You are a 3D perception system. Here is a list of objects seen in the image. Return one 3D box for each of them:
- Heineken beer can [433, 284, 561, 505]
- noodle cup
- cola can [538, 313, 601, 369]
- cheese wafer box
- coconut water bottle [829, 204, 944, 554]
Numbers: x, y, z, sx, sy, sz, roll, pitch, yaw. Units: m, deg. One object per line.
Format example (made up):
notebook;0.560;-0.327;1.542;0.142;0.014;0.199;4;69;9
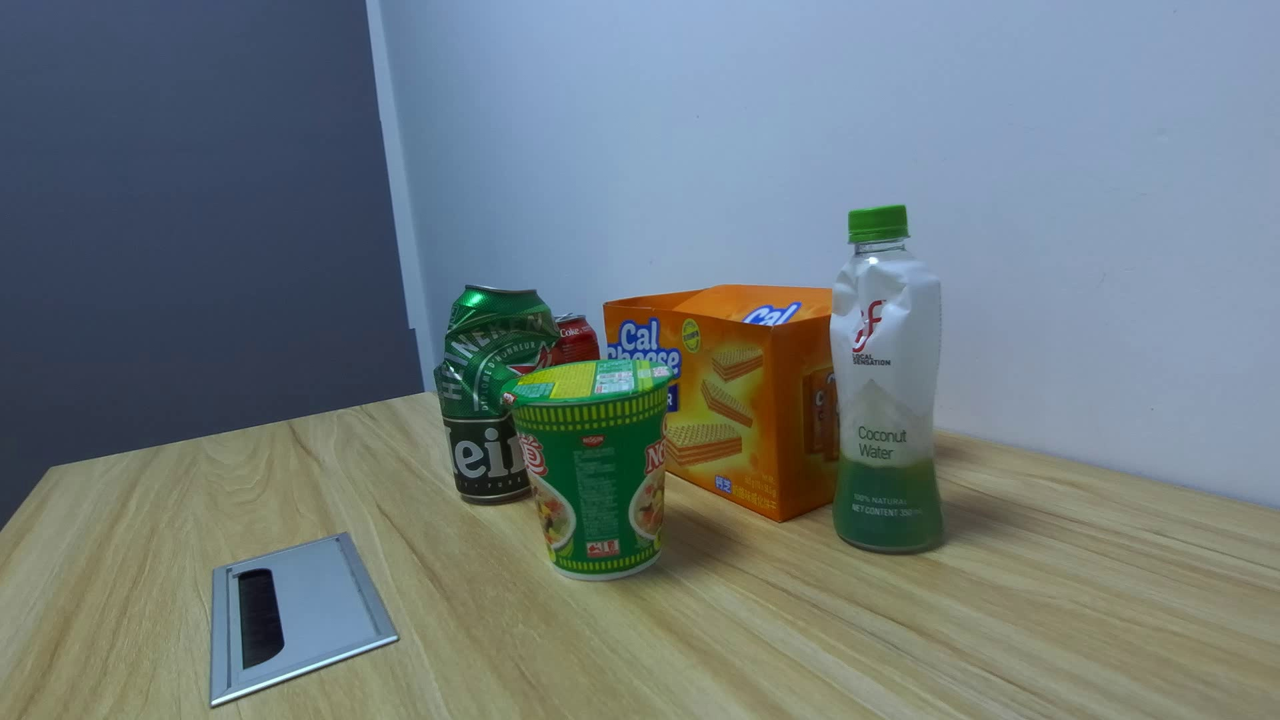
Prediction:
Heineken beer can;-0.108;0.026;0.531;0.067;0.159;0.079;5;8;35
noodle cup;-0.024;0.063;0.413;0.097;0.110;0.097;-6;13;2
cola can;-0.067;0.016;0.646;0.067;0.117;0.065;-16;14;-37
cheese wafer box;0.080;0.016;0.554;0.153;0.132;0.229;-13;15;-31
coconut water bottle;0.137;0.011;0.399;0.069;0.186;0.069;-6;10;1
